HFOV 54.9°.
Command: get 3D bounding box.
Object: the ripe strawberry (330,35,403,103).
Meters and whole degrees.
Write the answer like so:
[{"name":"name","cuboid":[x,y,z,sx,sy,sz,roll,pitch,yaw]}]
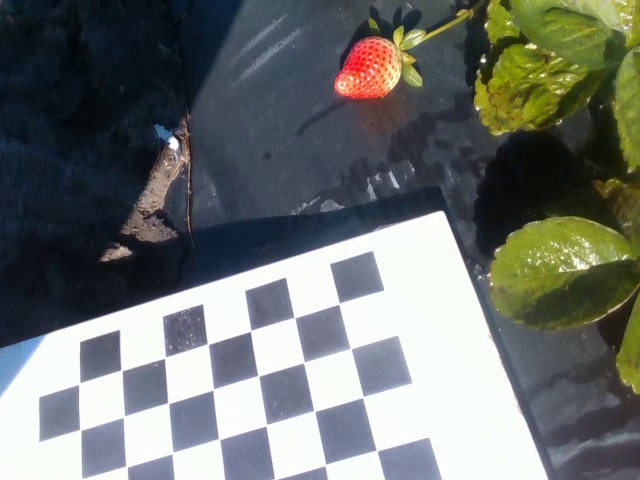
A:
[{"name":"ripe strawberry","cuboid":[0.027,-0.097,0.362,0.053,0.039,0.041,-28,-32,-19]}]
